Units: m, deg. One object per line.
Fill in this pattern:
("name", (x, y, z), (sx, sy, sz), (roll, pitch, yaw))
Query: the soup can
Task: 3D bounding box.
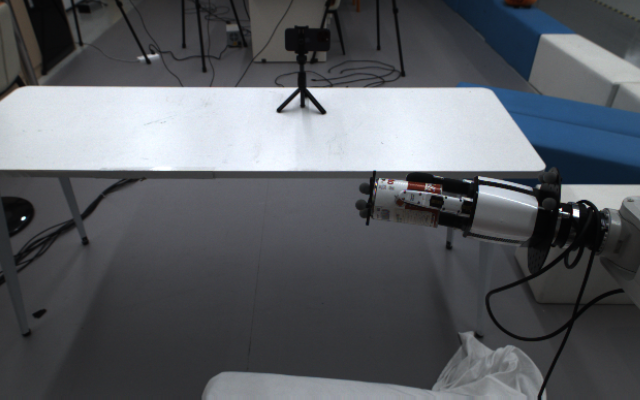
("soup can", (0.136, 0.002, 0.753), (0.101, 0.067, 0.067), (6, 35, 10))
